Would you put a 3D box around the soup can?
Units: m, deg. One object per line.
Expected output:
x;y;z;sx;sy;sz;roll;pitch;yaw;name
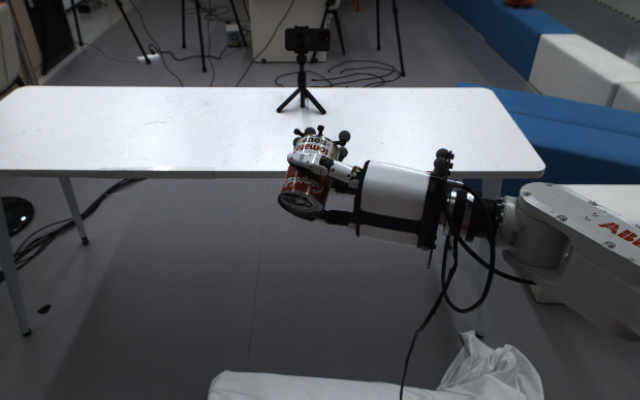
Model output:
-0.014;-0.036;0.693;0.067;0.067;0.101;9;60;10;soup can
